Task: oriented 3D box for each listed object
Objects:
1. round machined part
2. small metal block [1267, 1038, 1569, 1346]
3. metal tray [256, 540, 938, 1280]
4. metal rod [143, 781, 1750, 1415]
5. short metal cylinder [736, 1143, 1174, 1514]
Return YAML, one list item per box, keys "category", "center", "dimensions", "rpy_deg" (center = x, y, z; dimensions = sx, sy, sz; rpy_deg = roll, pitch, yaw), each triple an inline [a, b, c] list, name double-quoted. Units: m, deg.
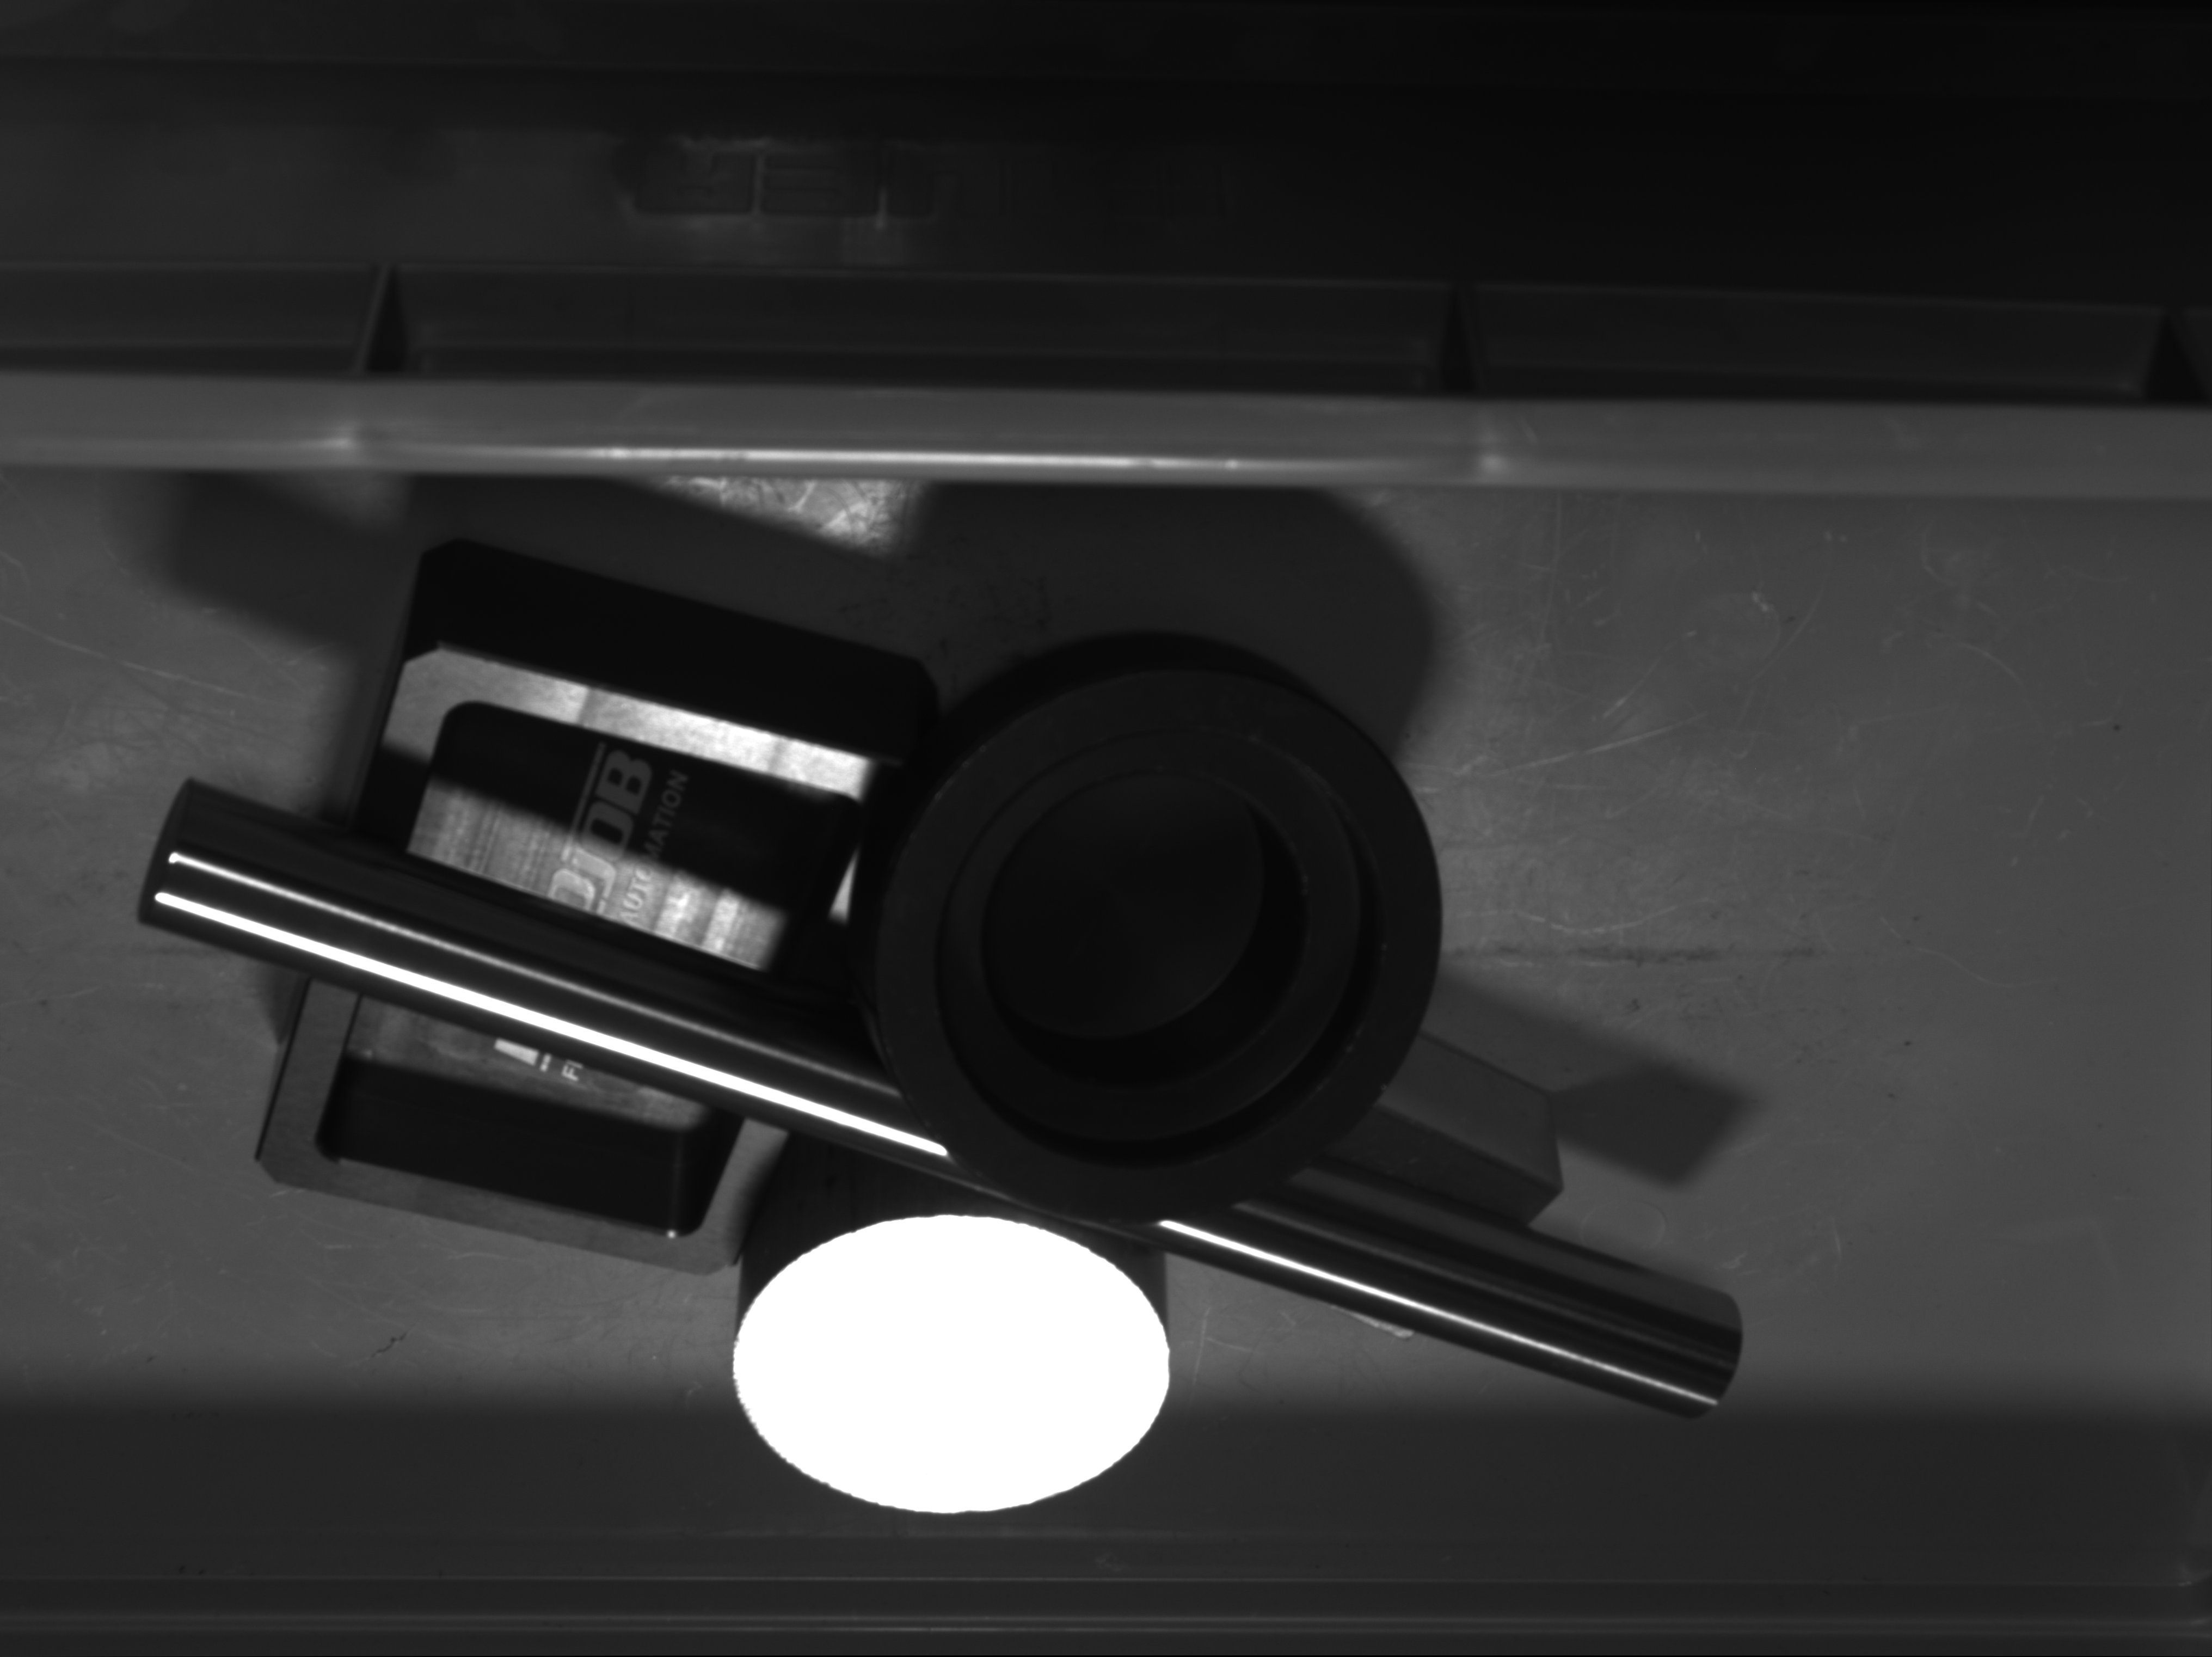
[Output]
- category: "round machined part"
  center: [0.005, 0.015, 0.622]
  dimensions: [0.098, 0.042, 0.098]
  rpy_deg: [-5, 109, -14]
- category: "small metal block"
  center: [0.051, 0.065, 0.693]
  dimensions: [0.050, 0.025, 0.050]
  rpy_deg: [25, 125, -21]
- category: "metal tray"
  center: [-0.091, 0.018, 0.644]
  dimensions: [0.090, 0.030, 0.130]
  rpy_deg: [14, 128, -13]
- category: "metal rod"
  center: [-0.018, 0.051, 0.642]
  dimensions: [0.301, 0.025, 0.025]
  rpy_deg: [20, 127, -20]
- category: "short metal cylinder"
  center: [-0.028, 0.083, 0.689]
  dimensions: [0.080, 0.050, 0.080]
  rpy_deg: [-1, 130, -1]
